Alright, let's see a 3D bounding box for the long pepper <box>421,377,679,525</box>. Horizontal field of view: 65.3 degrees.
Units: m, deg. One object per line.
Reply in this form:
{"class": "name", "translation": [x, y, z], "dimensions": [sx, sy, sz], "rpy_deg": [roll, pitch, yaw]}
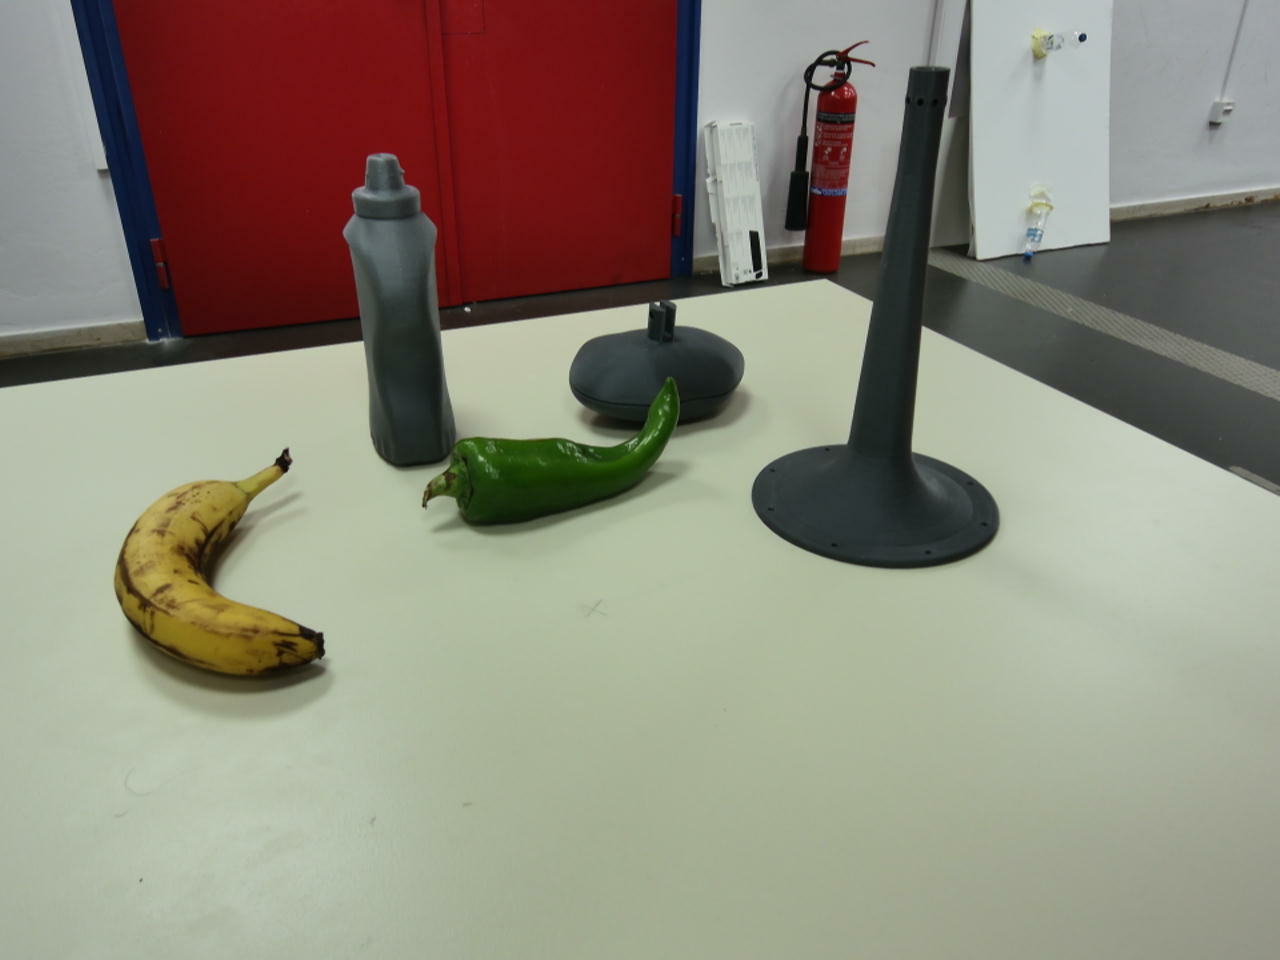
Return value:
{"class": "long pepper", "translation": [-0.048, -0.016, 0.607], "dimensions": [0.175, 0.065, 0.058], "rpy_deg": [-12, 29, -24]}
